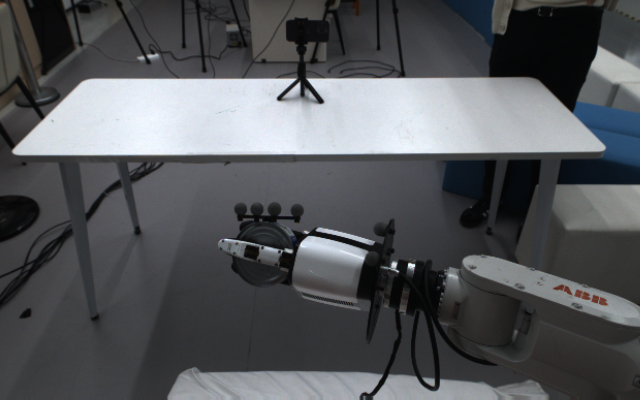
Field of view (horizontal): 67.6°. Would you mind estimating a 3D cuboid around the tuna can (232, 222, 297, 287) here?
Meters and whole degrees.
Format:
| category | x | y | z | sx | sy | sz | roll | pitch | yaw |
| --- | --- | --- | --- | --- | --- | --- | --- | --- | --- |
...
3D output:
| category | x | y | z | sx | sy | sz | roll | pitch | yaw |
| --- | --- | --- | --- | --- | --- | --- | --- | --- | --- |
| tuna can | -0.068 | 0.075 | 0.640 | 0.085 | 0.085 | 0.034 | 12 | -1 | 14 |
